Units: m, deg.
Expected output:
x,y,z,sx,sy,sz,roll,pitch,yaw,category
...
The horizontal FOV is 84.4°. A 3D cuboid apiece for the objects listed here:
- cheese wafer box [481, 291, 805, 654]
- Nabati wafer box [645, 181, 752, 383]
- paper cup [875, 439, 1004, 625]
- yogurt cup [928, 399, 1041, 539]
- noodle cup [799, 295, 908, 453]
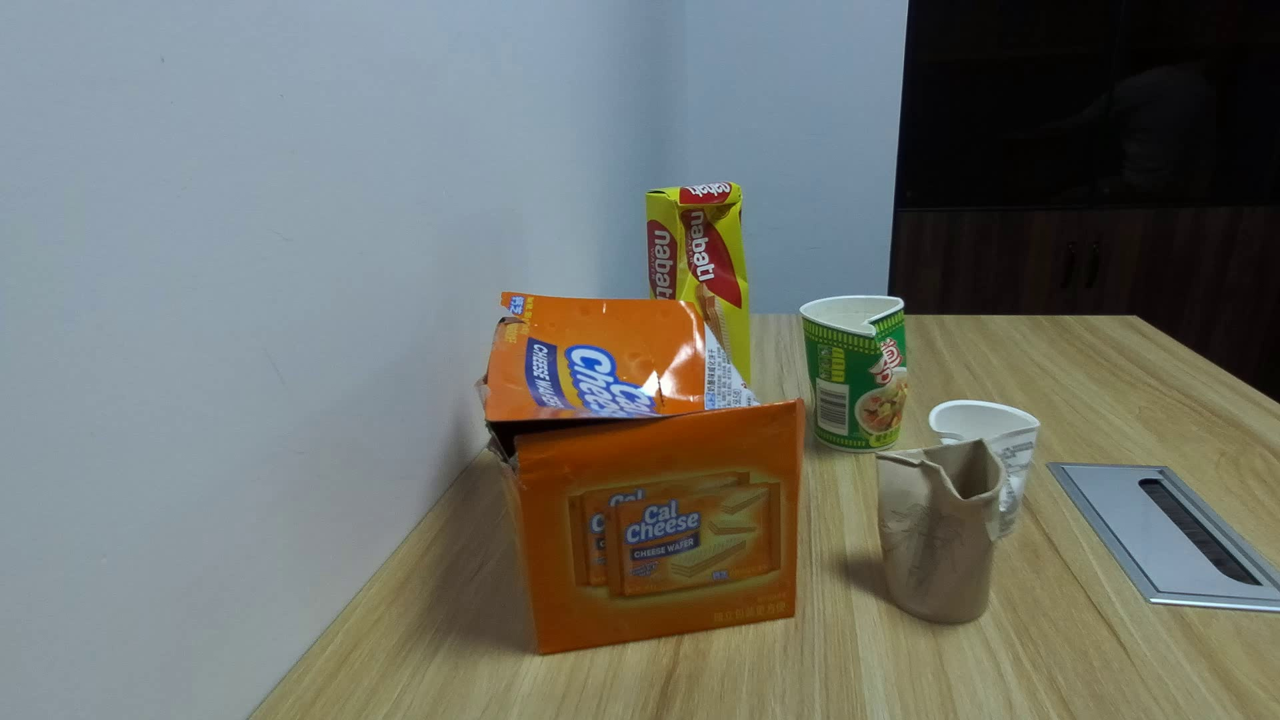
x,y,z,sx,sy,sz,roll,pitch,yaw,category
0.004,0.044,0.453,0.191,0.145,0.218,-6,20,-9,cheese wafer box
0.055,-0.048,0.617,0.097,0.203,0.042,-15,20,-36,Nabati wafer box
0.163,0.093,0.388,0.058,0.083,0.066,1,20,11,paper cup
0.221,0.071,0.464,0.067,0.070,0.067,-2,20,1,yogurt cup
0.176,0.010,0.573,0.094,0.109,0.086,-17,24,-33,noodle cup
